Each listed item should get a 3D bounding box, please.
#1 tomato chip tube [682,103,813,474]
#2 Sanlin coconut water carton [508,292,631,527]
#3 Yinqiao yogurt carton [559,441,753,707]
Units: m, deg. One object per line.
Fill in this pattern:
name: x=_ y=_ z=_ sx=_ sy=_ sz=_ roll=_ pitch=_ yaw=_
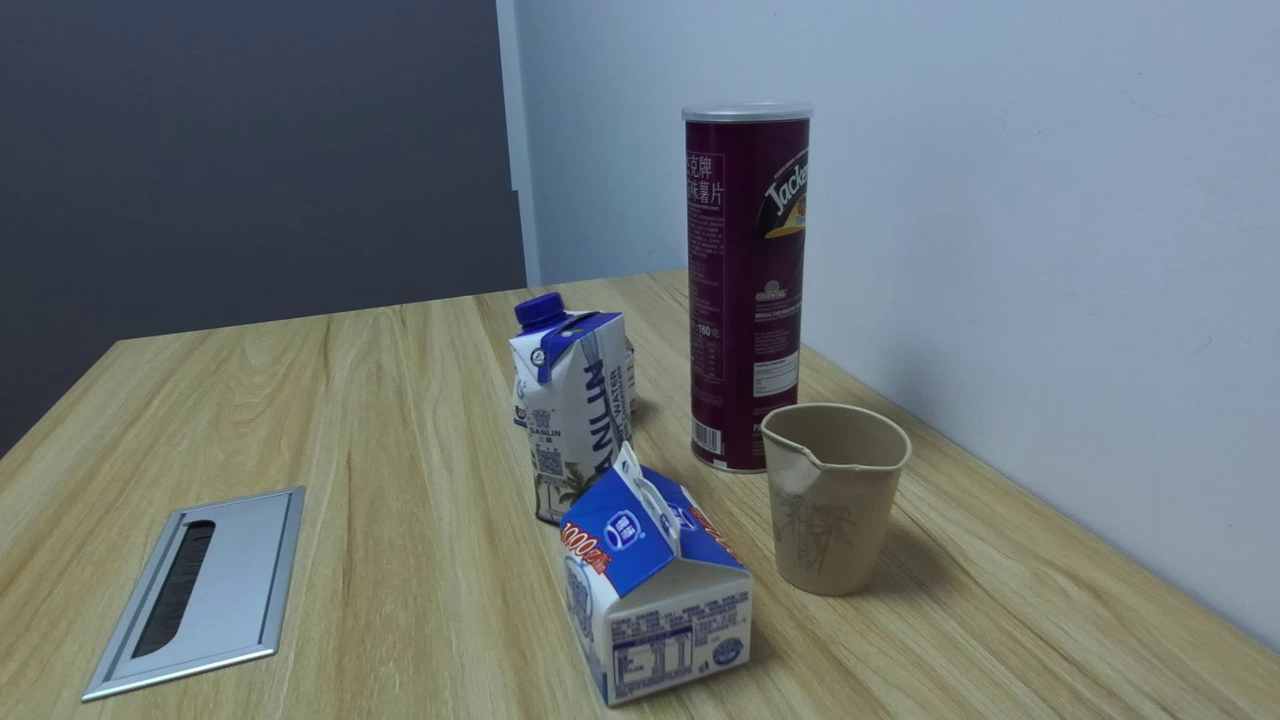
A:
tomato chip tube: x=0.070 y=-0.043 z=0.468 sx=0.078 sy=0.234 sz=0.078 roll=-2 pitch=21 yaw=1
Sanlin coconut water carton: x=-0.038 y=0.030 z=0.428 sx=0.057 sy=0.142 sz=0.078 roll=4 pitch=22 yaw=30
Yinqiao yogurt carton: x=0.005 y=0.094 z=0.334 sx=0.074 sy=0.092 sz=0.075 roll=-10 pitch=26 yaw=-17
